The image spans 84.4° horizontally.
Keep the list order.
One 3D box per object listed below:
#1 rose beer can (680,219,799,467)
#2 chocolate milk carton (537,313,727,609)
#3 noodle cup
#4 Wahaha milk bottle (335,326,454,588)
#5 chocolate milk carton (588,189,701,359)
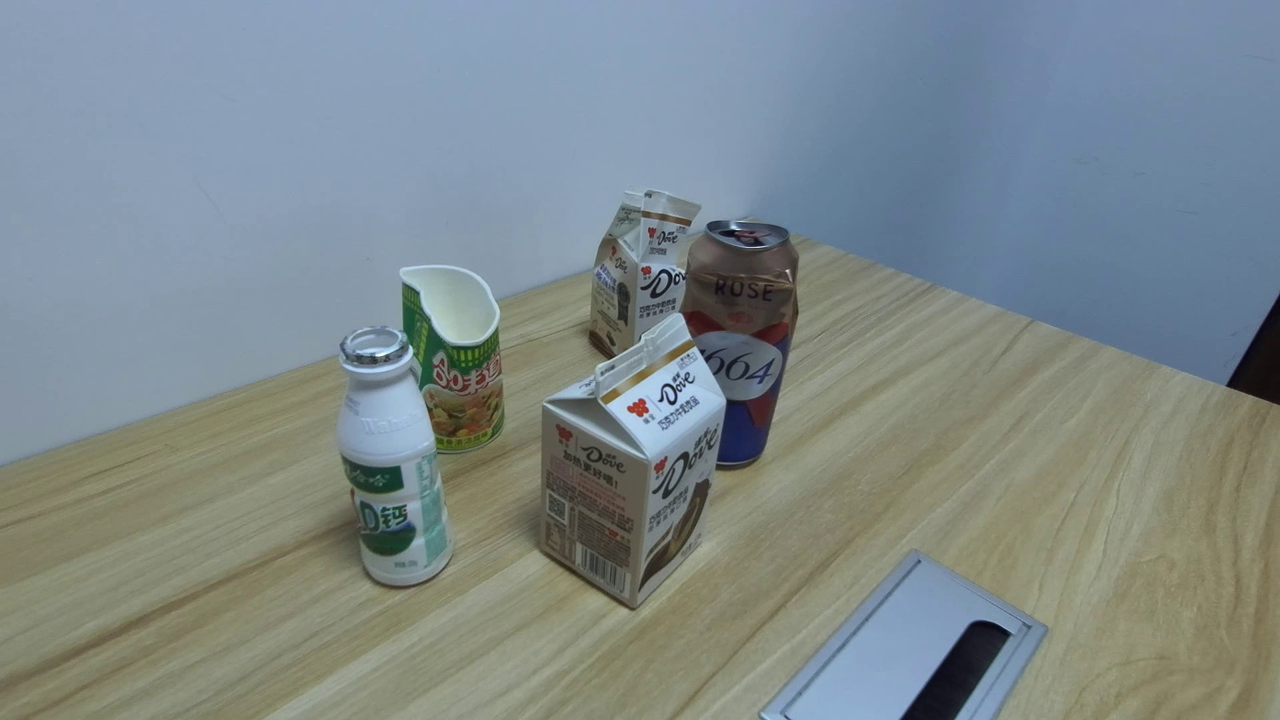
[{"bbox_3d":[0.065,-0.010,0.481,0.075,0.167,0.065,12,32,20],"label":"rose beer can"},{"bbox_3d":[-0.004,0.050,0.393,0.074,0.148,0.075,25,36,28],"label":"chocolate milk carton"},{"bbox_3d":[-0.132,0.003,0.495,0.070,0.111,0.114,-2,32,-10],"label":"noodle cup"},{"bbox_3d":[-0.130,0.053,0.377,0.056,0.148,0.056,2,30,-1],"label":"Wahaha milk bottle"},{"bbox_3d":[0.008,-0.074,0.590,0.076,0.155,0.073,-17,38,-31],"label":"chocolate milk carton"}]
